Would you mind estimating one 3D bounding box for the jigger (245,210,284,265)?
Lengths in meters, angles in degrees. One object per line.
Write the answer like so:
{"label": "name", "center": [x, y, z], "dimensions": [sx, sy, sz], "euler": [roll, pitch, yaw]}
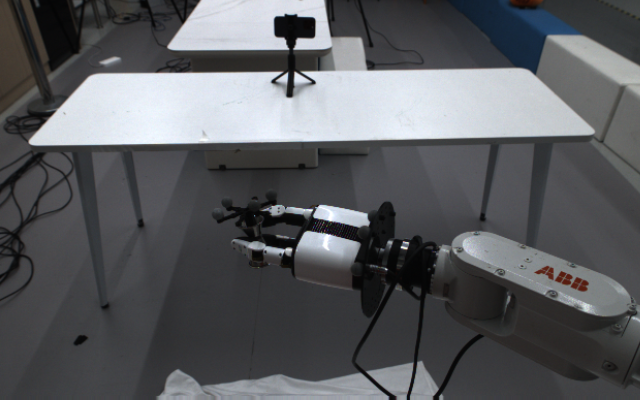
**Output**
{"label": "jigger", "center": [-0.093, 0.061, 0.717], "dimensions": [0.043, 0.071, 0.043], "euler": [-12, 24, 5]}
